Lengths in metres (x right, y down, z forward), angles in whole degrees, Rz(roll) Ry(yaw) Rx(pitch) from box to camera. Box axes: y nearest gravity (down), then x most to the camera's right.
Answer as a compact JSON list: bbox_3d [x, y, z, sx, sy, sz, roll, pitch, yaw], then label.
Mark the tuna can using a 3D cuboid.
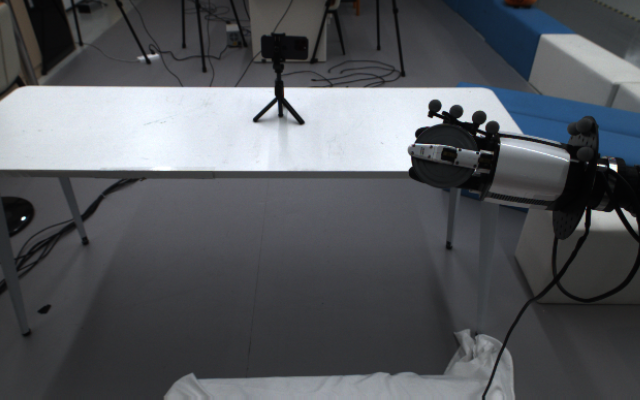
[{"bbox_3d":[0.169,-0.059,0.650,0.085,0.085,0.034,13,3,15],"label":"tuna can"}]
